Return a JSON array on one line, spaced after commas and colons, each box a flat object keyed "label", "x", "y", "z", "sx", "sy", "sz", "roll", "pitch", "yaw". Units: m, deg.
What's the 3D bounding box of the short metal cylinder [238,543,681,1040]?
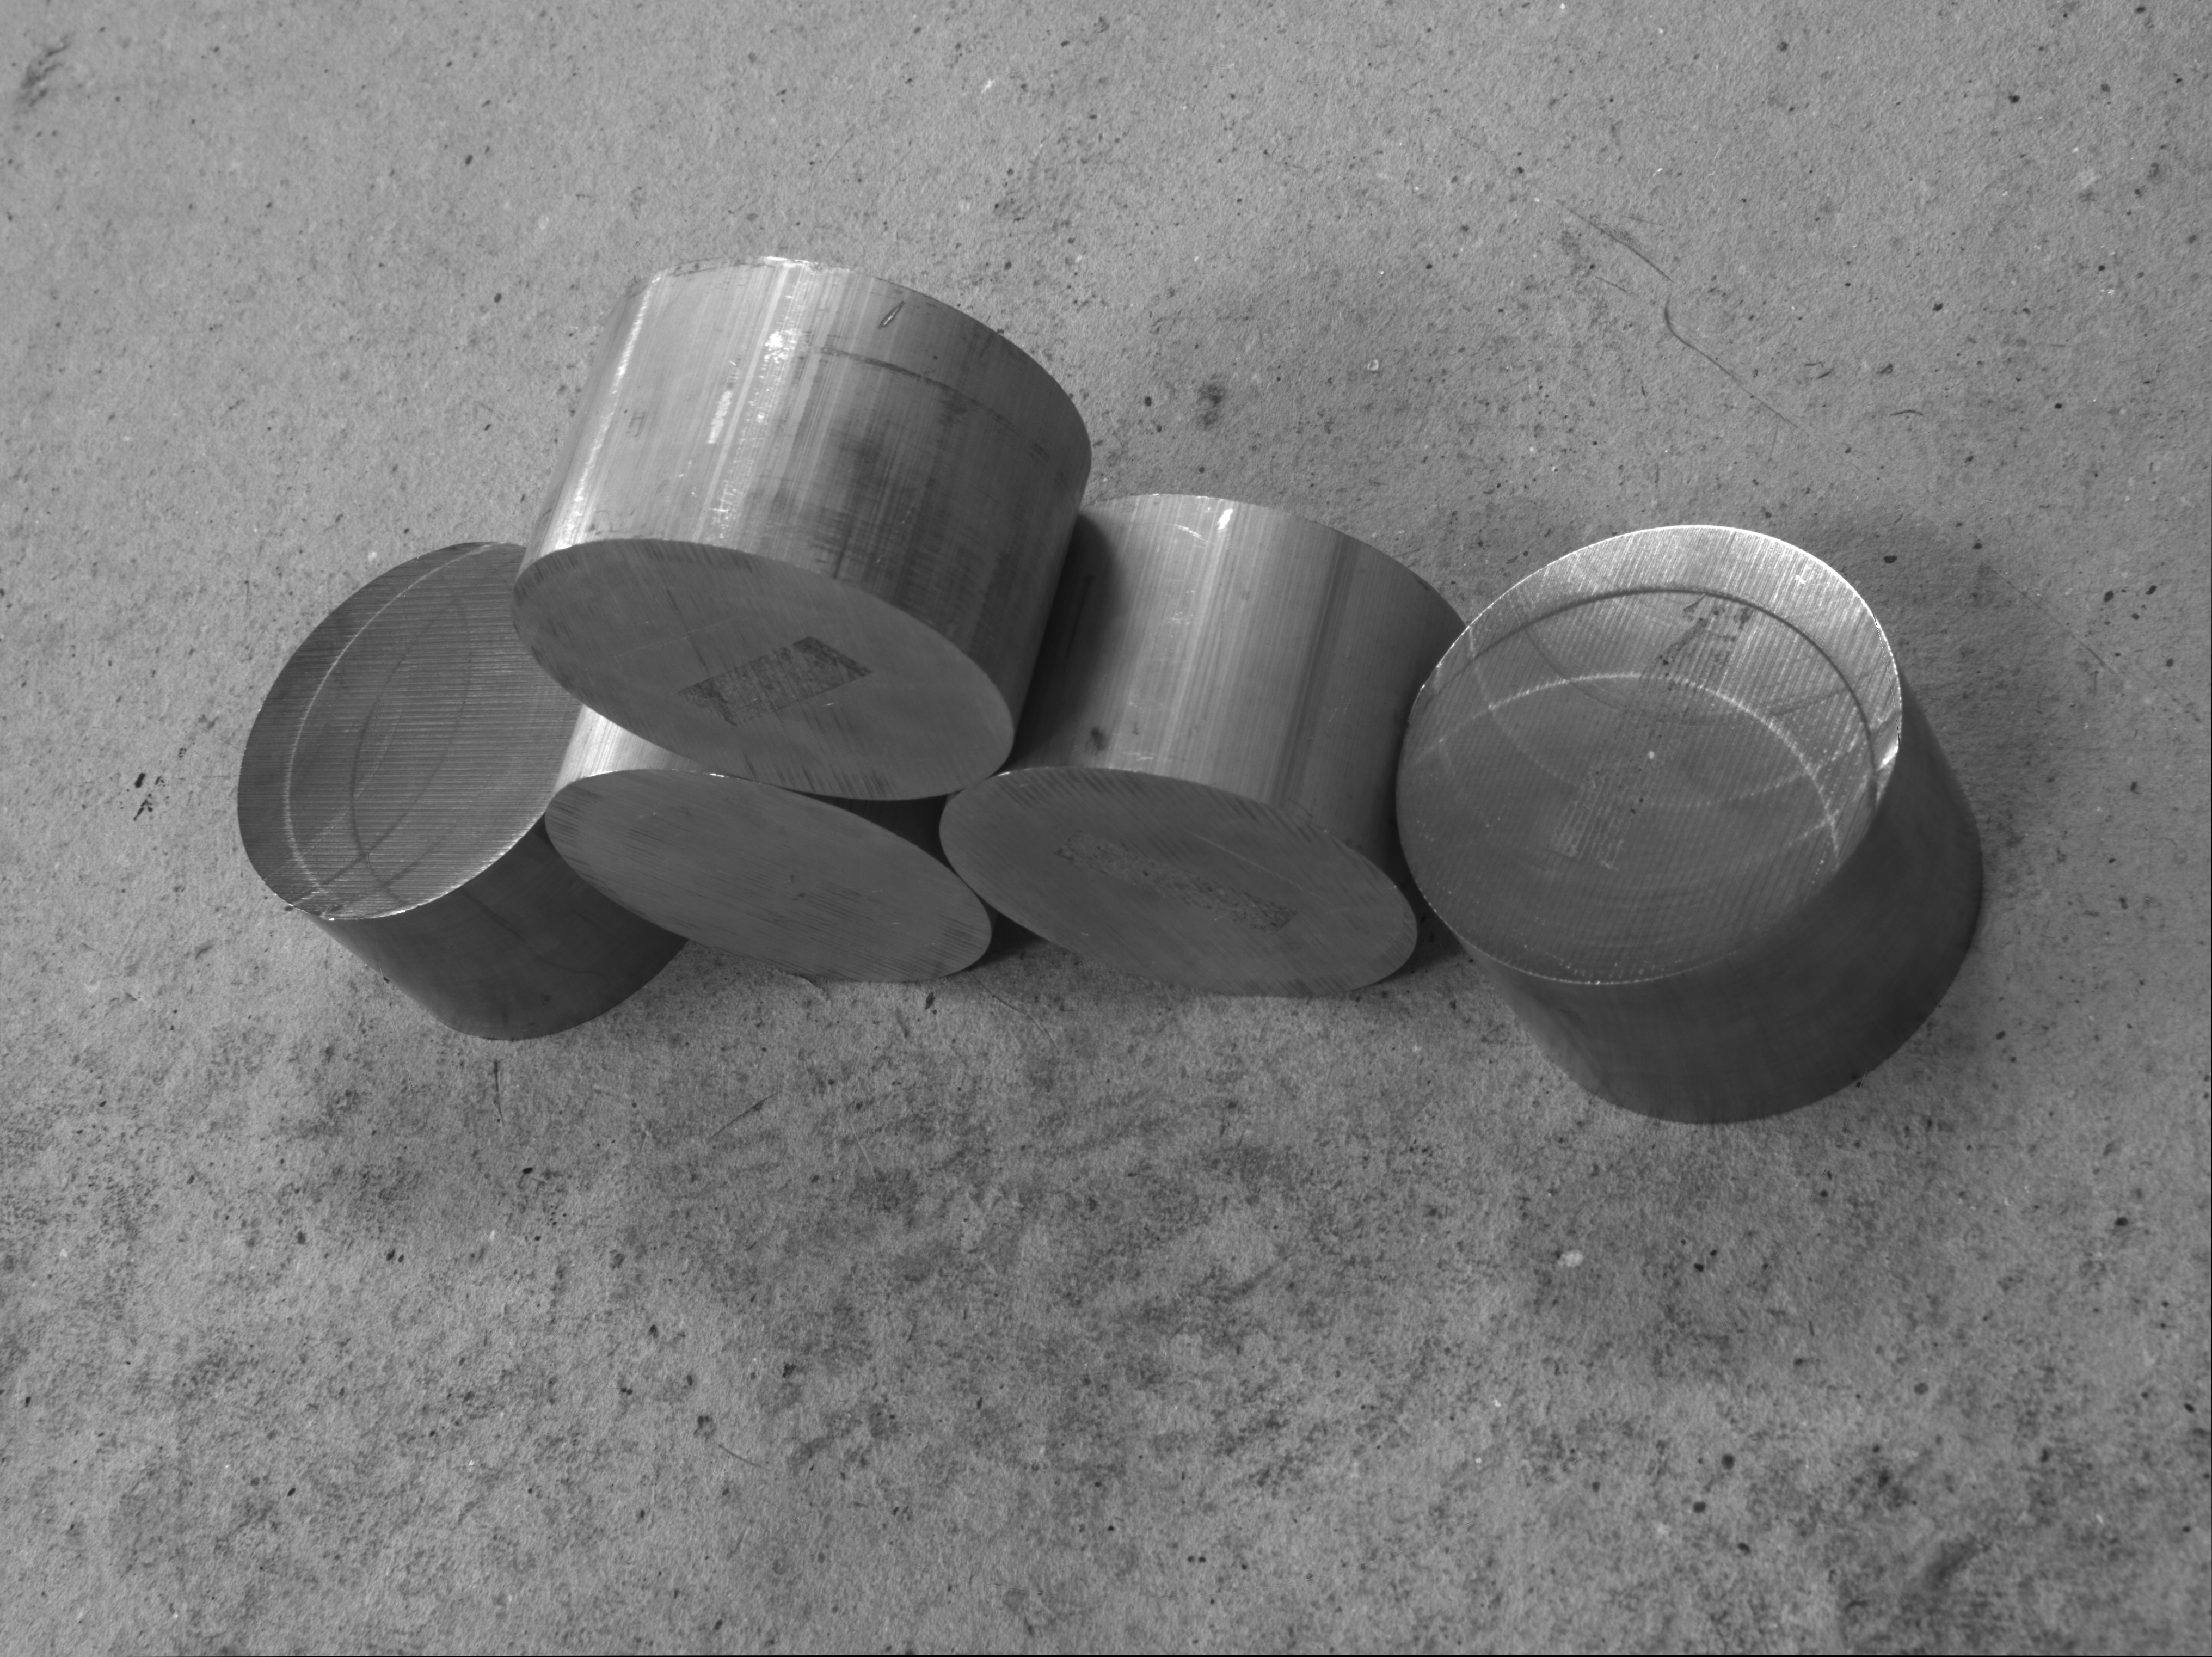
[{"label": "short metal cylinder", "x": -0.116, "y": -0.007, "z": 0.696, "sx": 0.080, "sy": 0.050, "sz": 0.080, "roll": -13, "pitch": 56, "yaw": 21}]

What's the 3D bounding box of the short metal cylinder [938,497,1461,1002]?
[{"label": "short metal cylinder", "x": 0.017, "y": -0.012, "z": 0.608, "sx": 0.080, "sy": 0.080, "sz": 0.050, "roll": 0, "pitch": 61, "yaw": 29}]

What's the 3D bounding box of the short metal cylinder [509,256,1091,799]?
[{"label": "short metal cylinder", "x": -0.047, "y": -0.045, "z": 0.573, "sx": 0.080, "sy": 0.080, "sz": 0.050, "roll": 1, "pitch": 63, "yaw": 29}]

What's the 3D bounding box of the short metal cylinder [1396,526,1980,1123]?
[{"label": "short metal cylinder", "x": 0.092, "y": 0.000, "z": 0.579, "sx": 0.080, "sy": 0.050, "sz": 0.080, "roll": -13, "pitch": 56, "yaw": 21}]

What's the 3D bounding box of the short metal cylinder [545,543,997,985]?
[{"label": "short metal cylinder", "x": -0.053, "y": -0.013, "z": 0.646, "sx": 0.080, "sy": 0.080, "sz": 0.050, "roll": 0, "pitch": 62, "yaw": 29}]
